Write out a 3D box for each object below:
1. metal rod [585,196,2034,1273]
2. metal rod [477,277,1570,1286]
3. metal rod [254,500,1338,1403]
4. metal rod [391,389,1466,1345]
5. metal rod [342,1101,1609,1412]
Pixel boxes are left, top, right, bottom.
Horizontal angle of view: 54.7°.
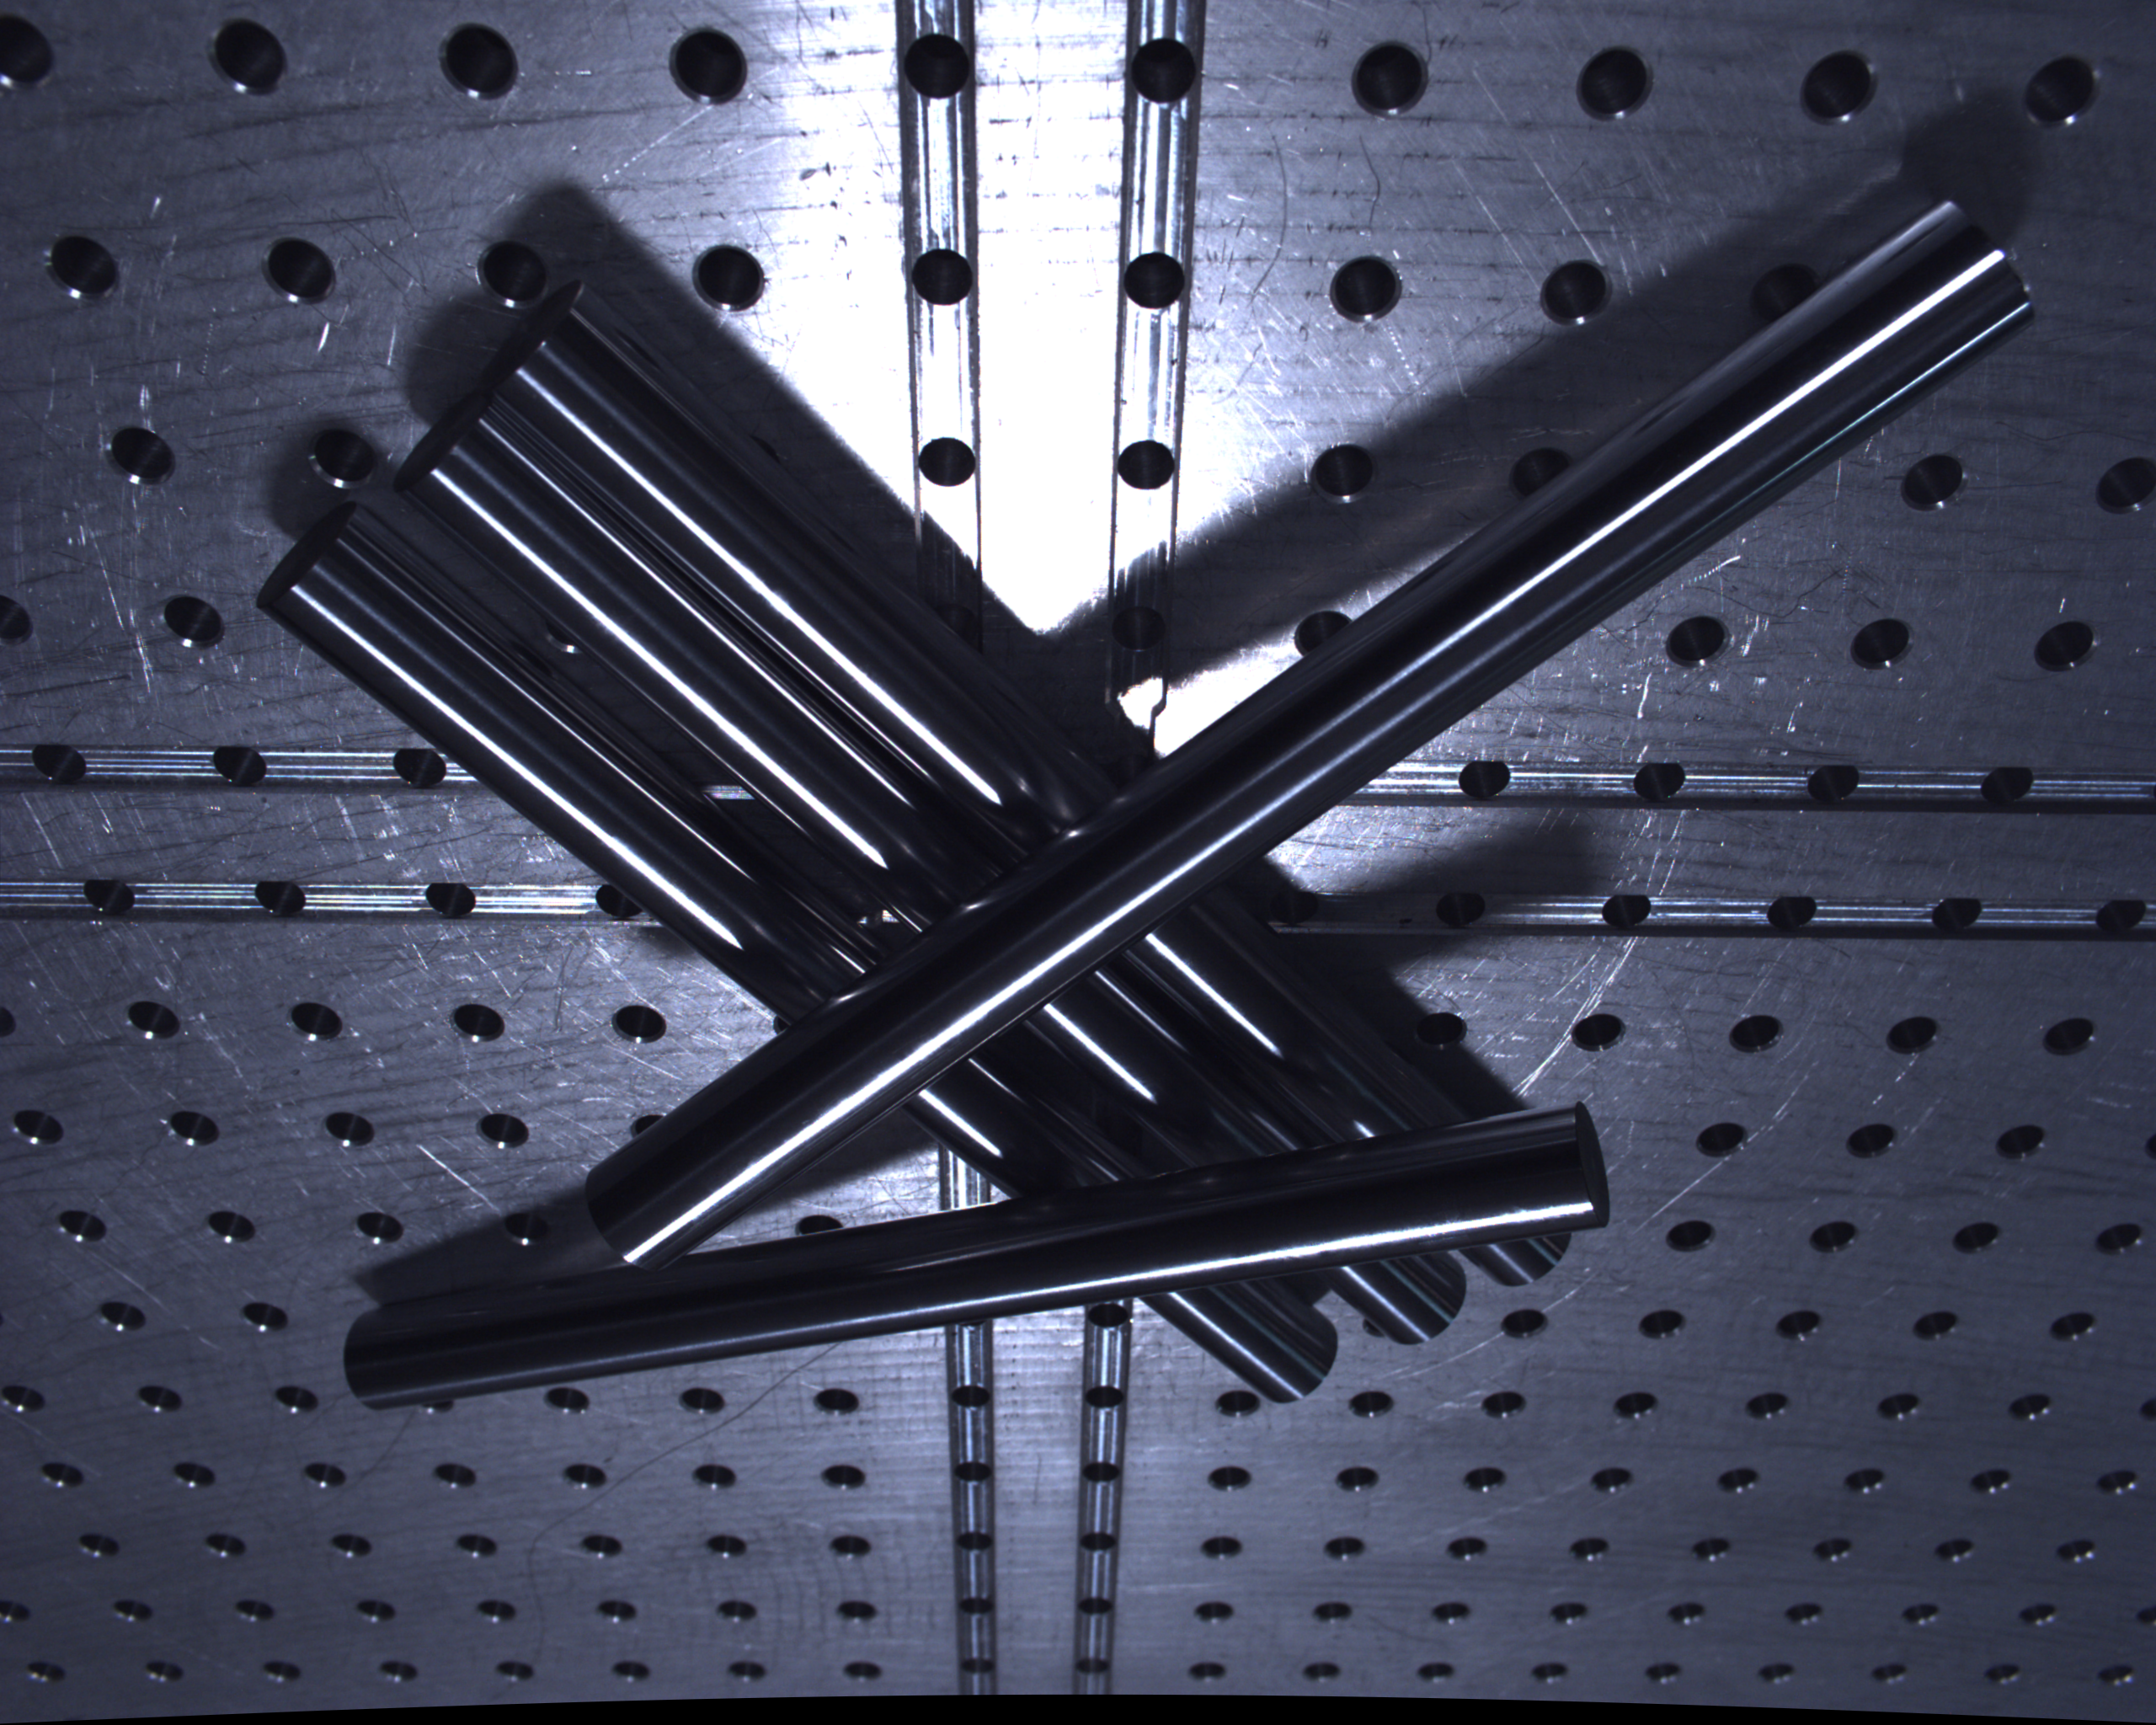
[{"bbox_3d":[0.028,-0.012,0.375,0.300,0.025,0.025,-36,122,16],"label":"metal rod"},{"bbox_3d":[0.008,0.001,0.413,0.025,0.025,0.300,-33,123,24],"label":"metal rod"},{"bbox_3d":[-0.041,0.034,0.440,0.025,0.025,0.300,-32,124,24],"label":"metal rod"},{"bbox_3d":[-0.012,0.017,0.425,0.025,0.025,0.300,-32,124,24],"label":"metal rod"},{"bbox_3d":[-0.036,0.091,0.461,0.301,0.025,0.025,-13,130,21],"label":"metal rod"}]
